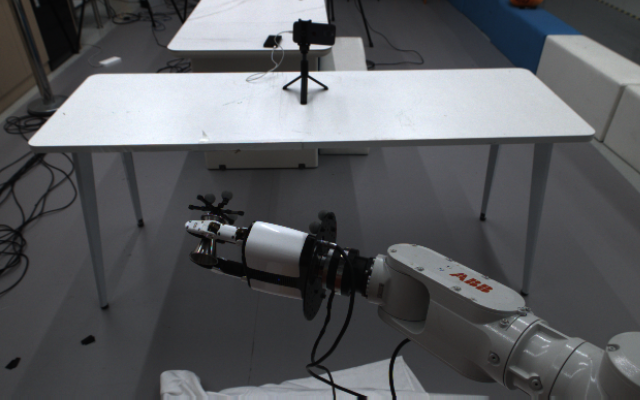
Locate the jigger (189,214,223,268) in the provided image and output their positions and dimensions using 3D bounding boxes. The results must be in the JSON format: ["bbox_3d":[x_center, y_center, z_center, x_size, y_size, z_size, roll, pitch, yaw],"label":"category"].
[{"bbox_3d":[-0.174,0.059,0.744,0.043,0.043,0.071,6,61,6],"label":"jigger"}]
